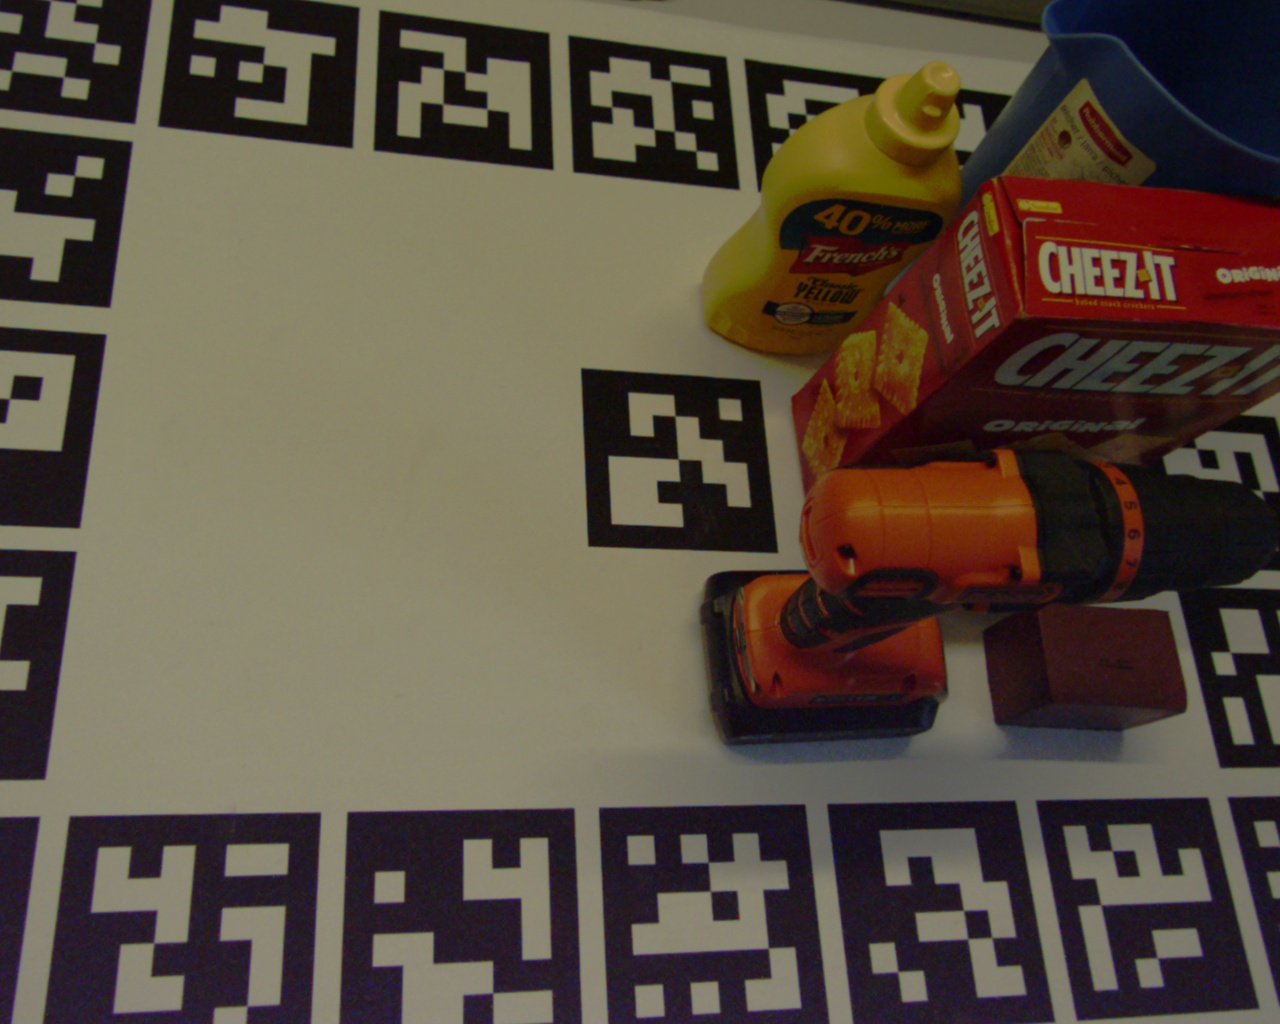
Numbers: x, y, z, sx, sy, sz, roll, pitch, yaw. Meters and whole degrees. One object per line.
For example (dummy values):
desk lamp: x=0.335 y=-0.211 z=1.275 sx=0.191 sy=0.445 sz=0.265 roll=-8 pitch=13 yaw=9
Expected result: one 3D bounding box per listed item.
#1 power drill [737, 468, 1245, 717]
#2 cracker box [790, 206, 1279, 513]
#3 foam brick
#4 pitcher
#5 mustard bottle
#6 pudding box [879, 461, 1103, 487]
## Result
power drill: x=0.134 y=0.039 z=0.500 sx=0.183 sy=0.187 sz=0.057 roll=0 pitch=67 yaw=-15
cracker box: x=0.189 y=-0.058 z=0.568 sx=0.163 sy=0.214 sz=0.072 roll=-2 pitch=69 yaw=-13
foam brick: x=0.224 y=0.078 z=0.619 sx=0.077 sy=0.051 sz=0.053 roll=3 pitch=71 yaw=-13
pitcher: x=0.227 y=-0.155 z=0.609 sx=0.188 sy=0.243 sz=0.133 roll=6 pitch=68 yaw=-10
mustard bottle: x=0.096 y=-0.153 z=0.588 sx=0.096 sy=0.192 sz=0.058 roll=14 pitch=68 yaw=-9
pudding box: x=0.172 y=0.006 z=0.598 sx=0.113 sy=0.090 sz=0.039 roll=1 pitch=68 yaw=-11
